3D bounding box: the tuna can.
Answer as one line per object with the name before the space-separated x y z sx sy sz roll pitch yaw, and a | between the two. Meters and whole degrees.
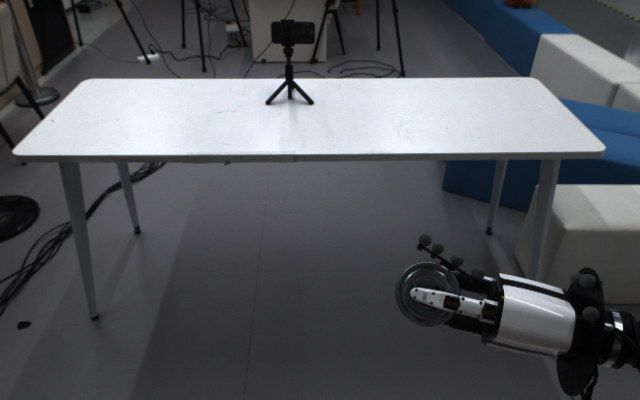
tuna can | 0.148 0.130 0.643 0.085 0.085 0.034 13 -4 15
